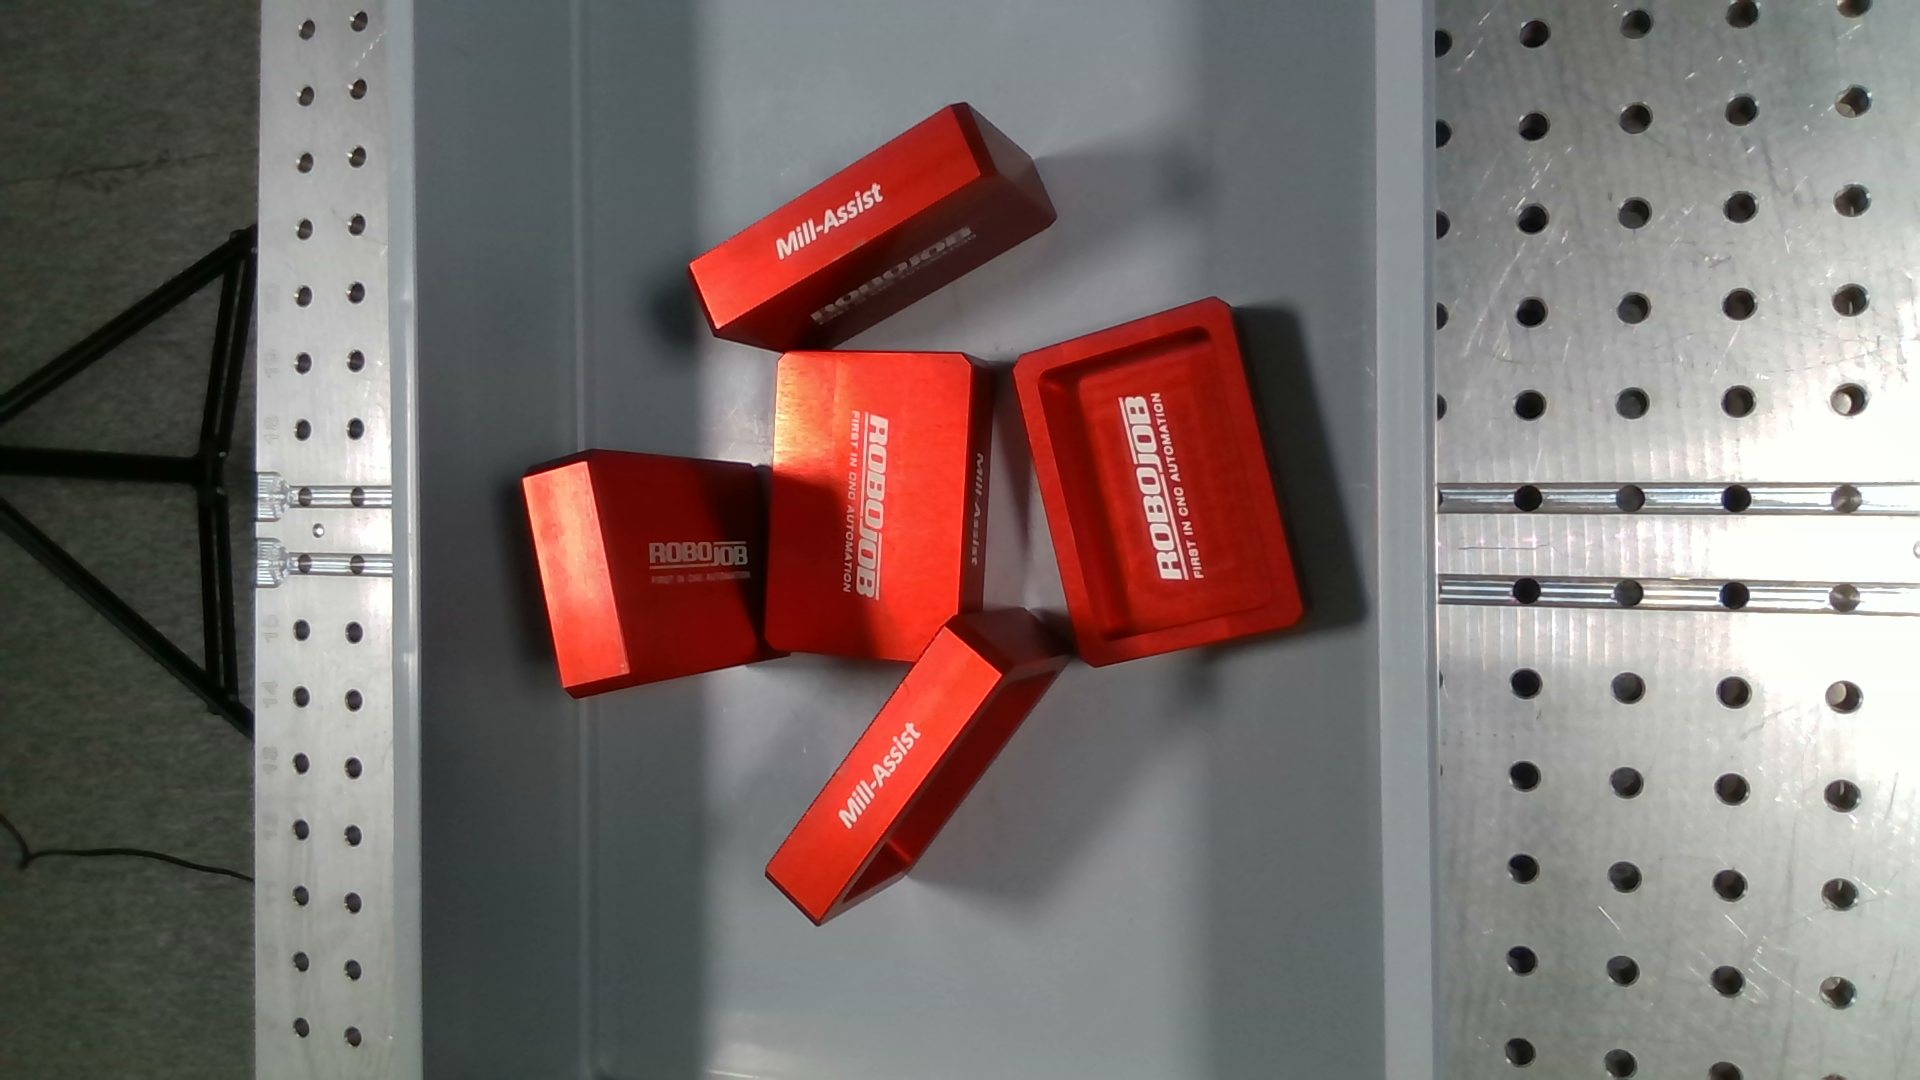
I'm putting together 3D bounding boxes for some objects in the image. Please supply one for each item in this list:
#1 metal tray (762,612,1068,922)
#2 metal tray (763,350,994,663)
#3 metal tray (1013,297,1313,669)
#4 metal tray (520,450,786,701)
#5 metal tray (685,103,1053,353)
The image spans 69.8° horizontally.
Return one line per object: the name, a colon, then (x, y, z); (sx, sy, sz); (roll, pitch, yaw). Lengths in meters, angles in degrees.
metal tray: (-0.015, 0.089, 0.555); (0.030, 0.090, 0.130); (40, 103, 16)
metal tray: (-0.036, -0.015, 0.593); (0.090, 0.030, 0.130); (4, 92, 20)
metal tray: (0.081, -0.021, 0.551); (0.090, 0.030, 0.130); (-14, 86, 20)
metal tray: (-0.122, 0.013, 0.572); (0.030, 0.130, 0.090); (-13, 86, 20)
metal tray: (-0.035, -0.121, 0.561); (0.130, 0.090, 0.030); (-26, 82, 19)
